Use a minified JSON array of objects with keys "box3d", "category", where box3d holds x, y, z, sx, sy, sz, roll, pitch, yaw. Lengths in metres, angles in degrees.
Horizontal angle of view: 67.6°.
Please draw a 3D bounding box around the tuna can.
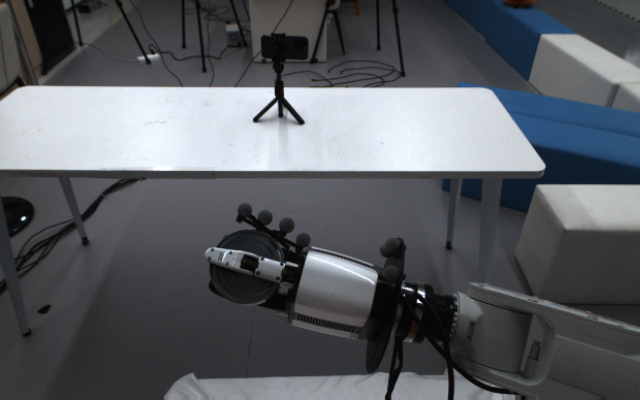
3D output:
[{"box3d":[-0.080,0.078,0.563,0.085,0.034,0.085,0,72,0],"category":"tuna can"}]
